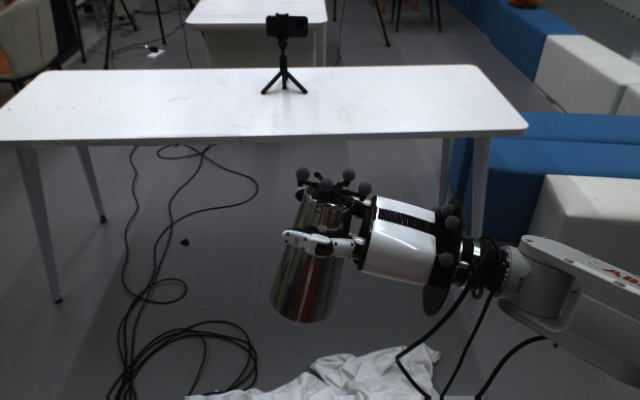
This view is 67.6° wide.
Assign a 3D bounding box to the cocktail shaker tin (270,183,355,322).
[{"bbox_3d":[-0.003,0.065,0.649,0.093,0.170,0.093,12,25,-6],"label":"cocktail shaker tin"}]
